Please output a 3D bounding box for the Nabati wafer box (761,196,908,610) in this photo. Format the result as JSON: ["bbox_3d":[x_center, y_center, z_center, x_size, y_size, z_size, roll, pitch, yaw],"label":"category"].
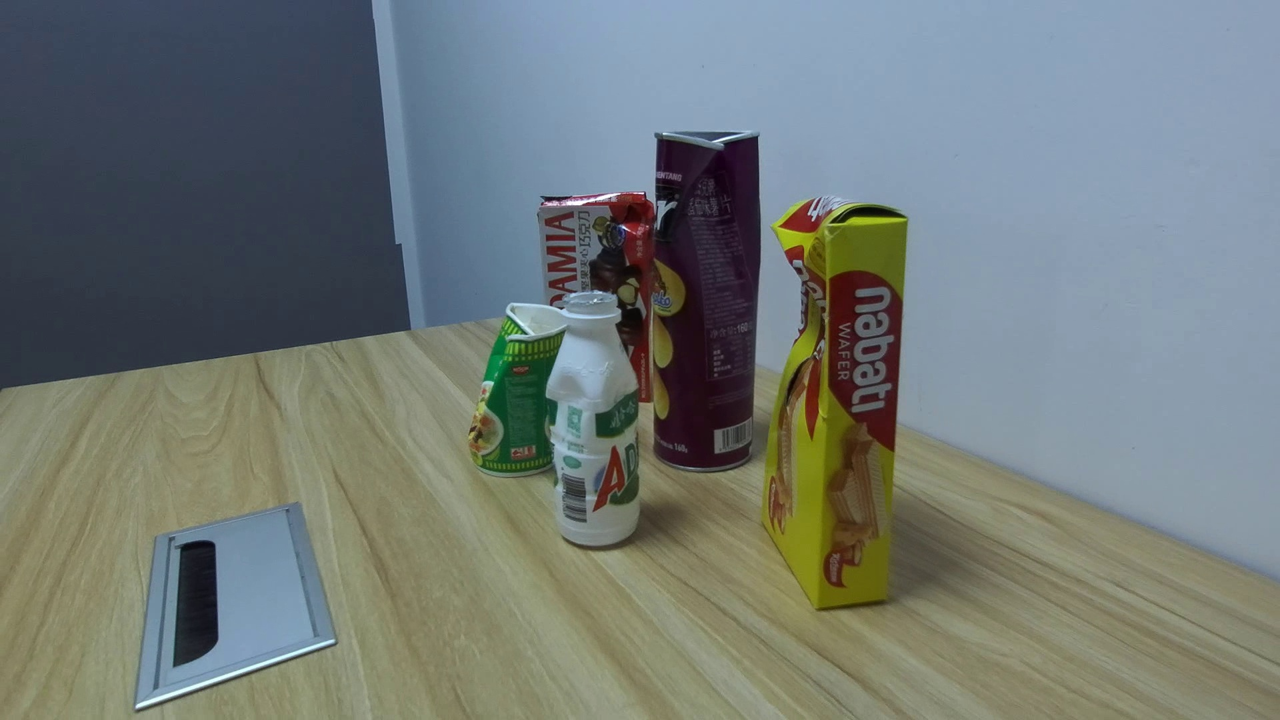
[{"bbox_3d":[0.099,0.017,0.379,0.042,0.204,0.106,-4,18,-6],"label":"Nabati wafer box"}]

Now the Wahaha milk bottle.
[{"bbox_3d":[-0.028,0.034,0.418,0.055,0.149,0.055,-2,18,1],"label":"Wahaha milk bottle"}]

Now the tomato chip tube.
[{"bbox_3d":[0.048,-0.041,0.508,0.077,0.235,0.076,0,18,1],"label":"tomato chip tube"}]

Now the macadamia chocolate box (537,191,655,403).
[{"bbox_3d":[-0.035,-0.051,0.617,0.102,0.187,0.027,3,16,15],"label":"macadamia chocolate box"}]

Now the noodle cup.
[{"bbox_3d":[-0.089,0.022,0.516,0.075,0.122,0.083,15,14,18],"label":"noodle cup"}]
